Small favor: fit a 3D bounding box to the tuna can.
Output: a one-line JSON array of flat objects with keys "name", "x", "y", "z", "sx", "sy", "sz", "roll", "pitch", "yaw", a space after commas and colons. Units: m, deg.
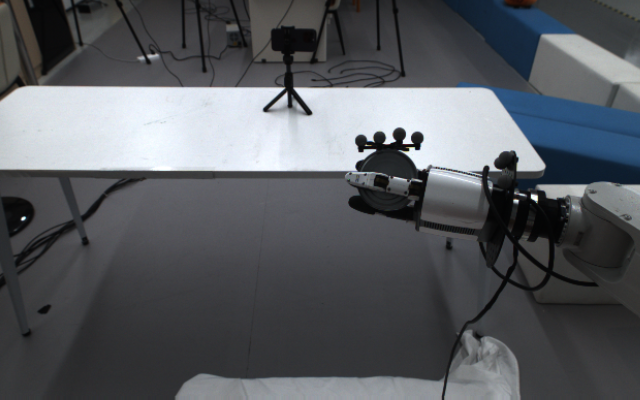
[{"name": "tuna can", "x": 0.097, "y": -0.028, "z": 0.681, "sx": 0.085, "sy": 0.085, "sz": 0.034, "roll": 15, "pitch": 2, "yaw": 18}]
